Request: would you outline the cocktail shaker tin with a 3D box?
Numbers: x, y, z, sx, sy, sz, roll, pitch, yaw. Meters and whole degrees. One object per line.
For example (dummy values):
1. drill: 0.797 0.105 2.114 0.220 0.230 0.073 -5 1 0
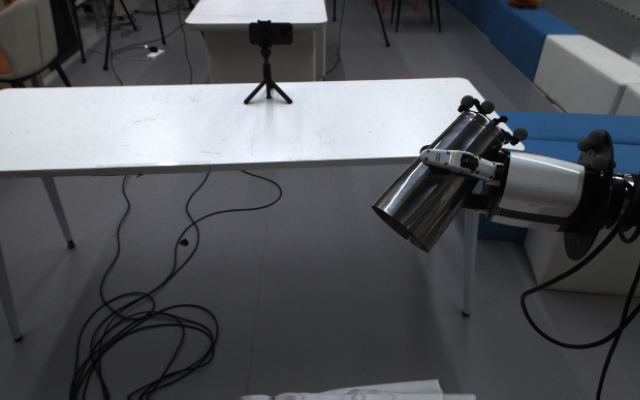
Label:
1. cocktail shaker tin: 0.156 -0.032 0.615 0.170 0.093 0.093 -48 49 -3
